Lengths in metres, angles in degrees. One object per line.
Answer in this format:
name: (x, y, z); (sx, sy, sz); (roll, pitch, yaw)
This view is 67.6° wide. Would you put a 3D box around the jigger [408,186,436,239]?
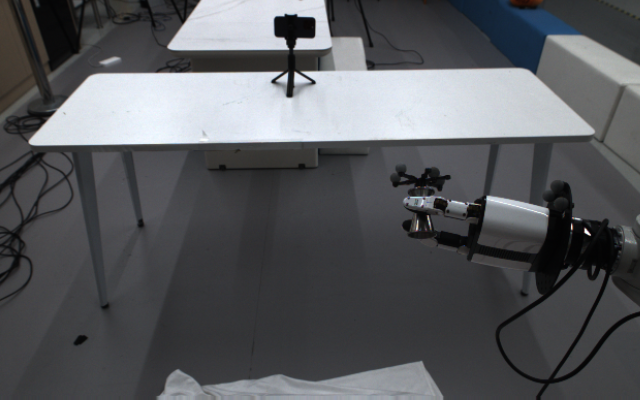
jigger: (0.148, 0.016, 0.713); (0.043, 0.043, 0.071); (3, 72, 1)
